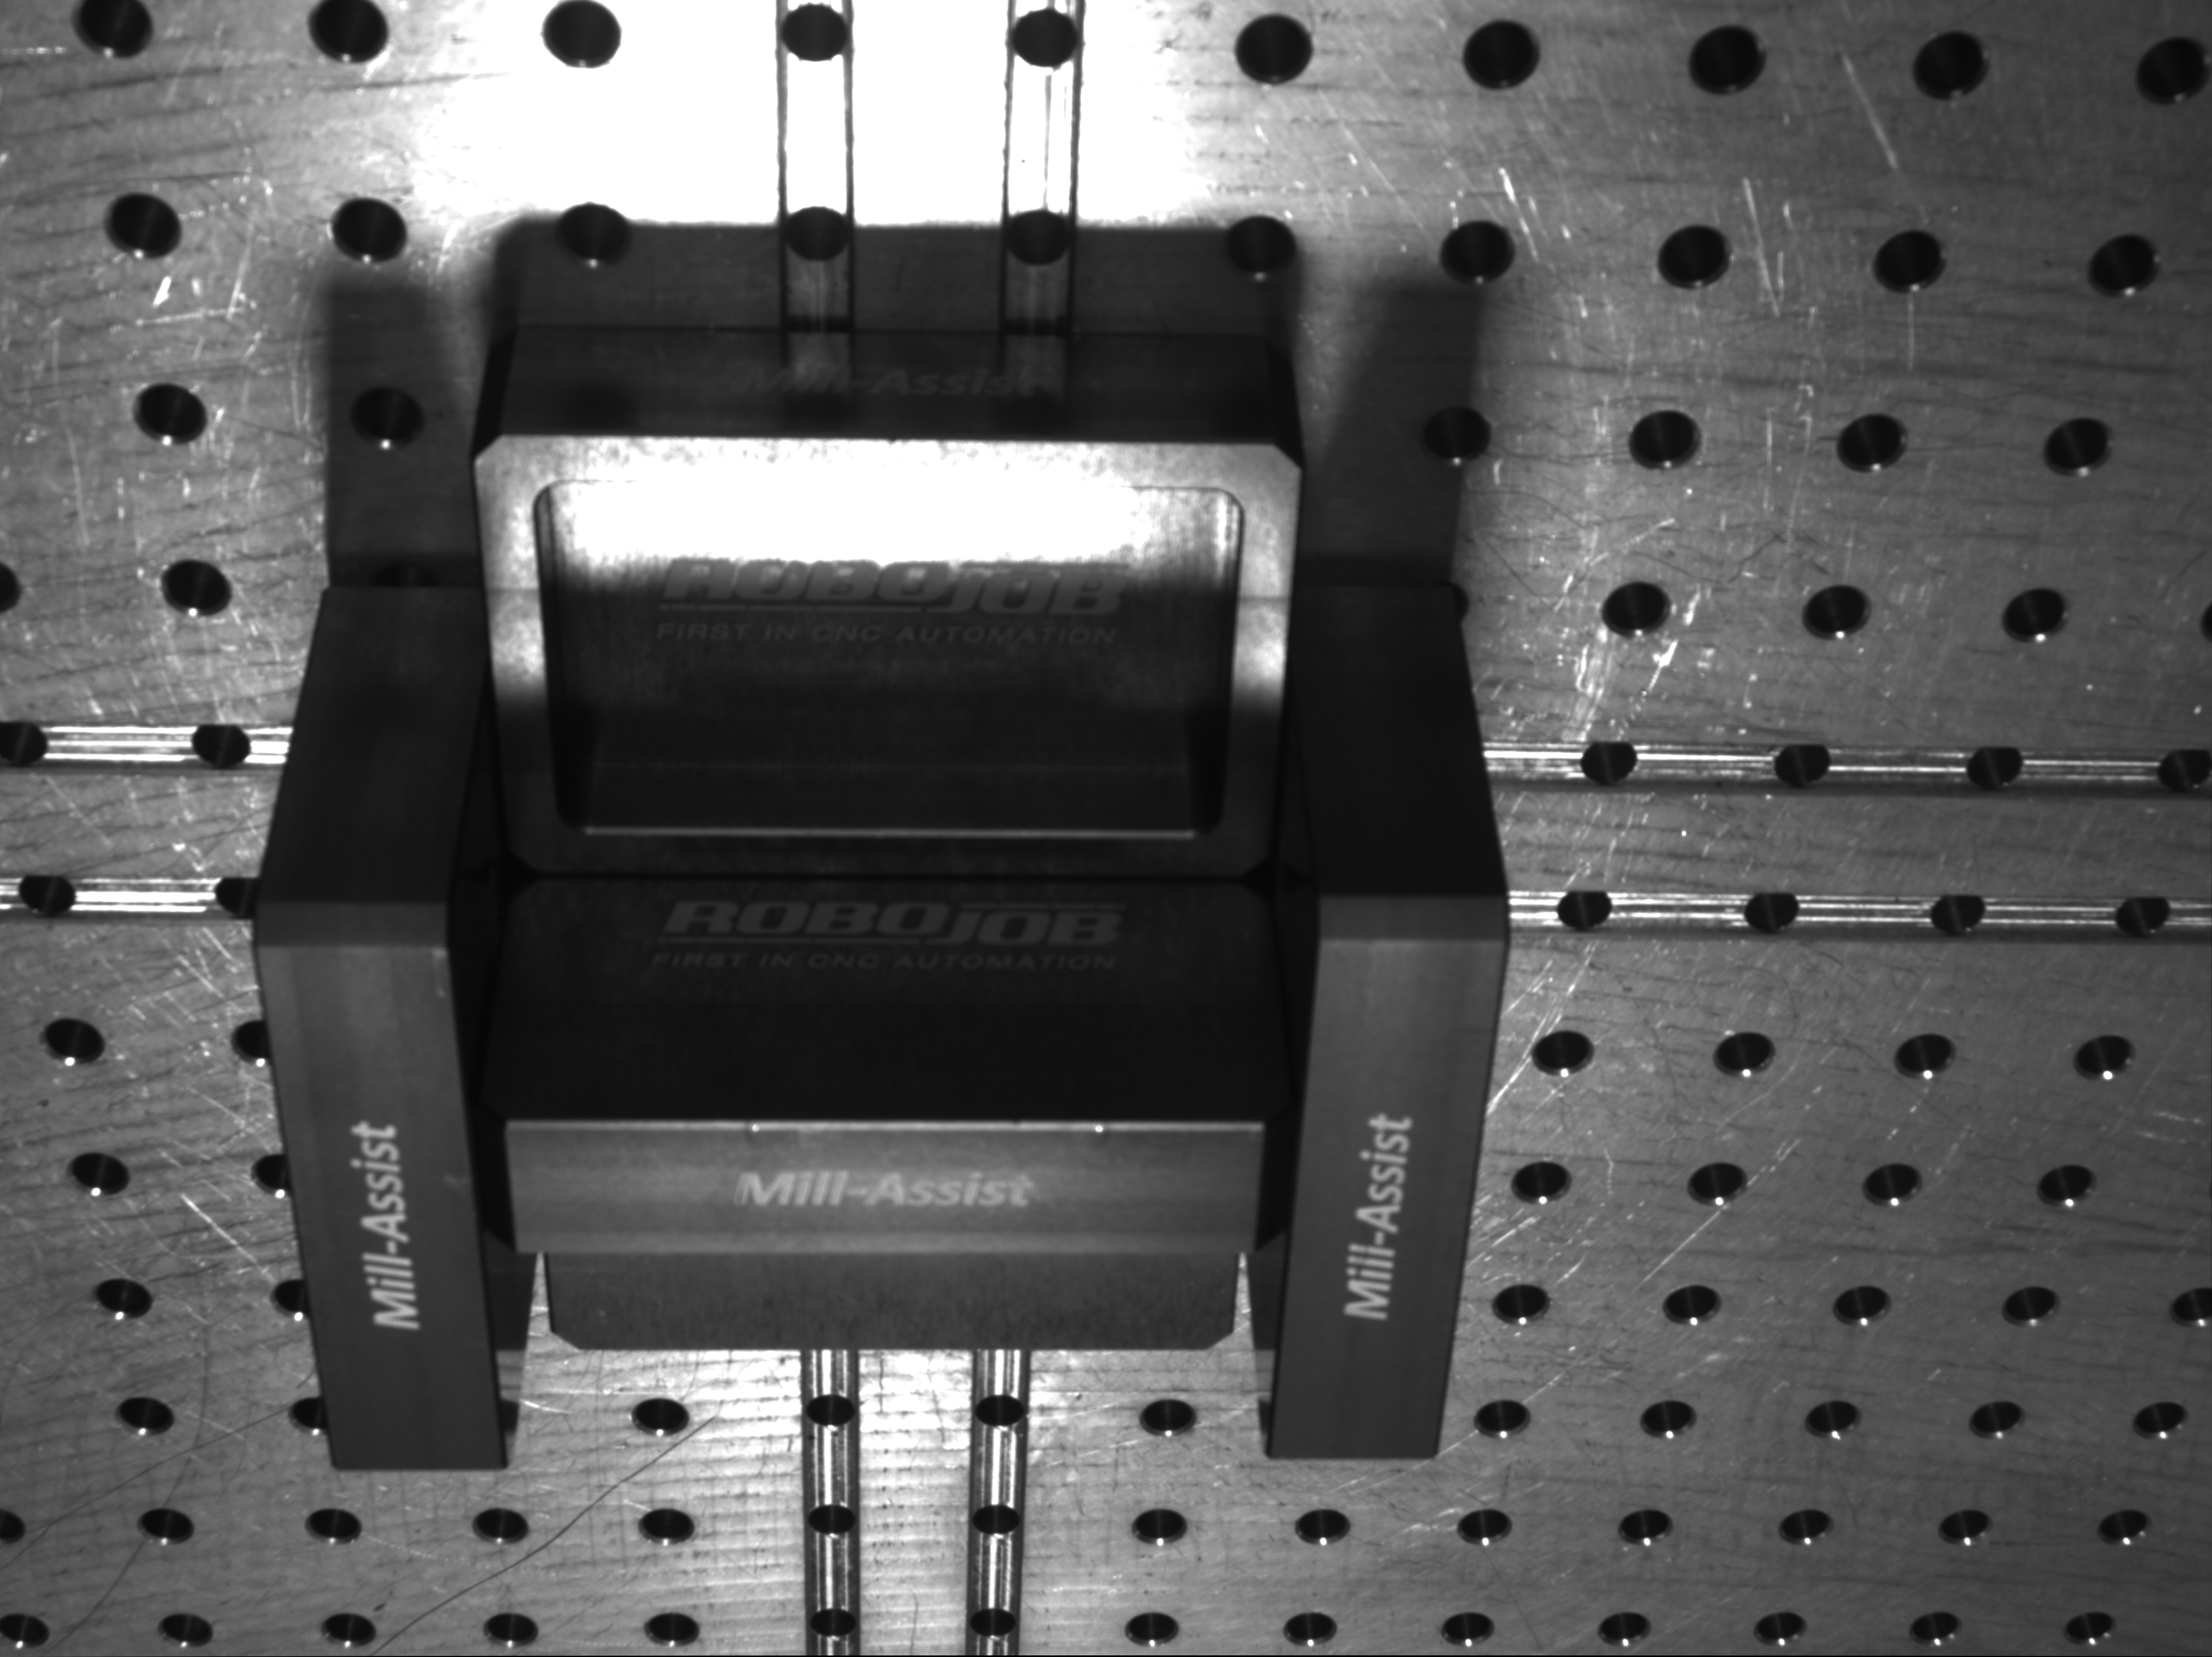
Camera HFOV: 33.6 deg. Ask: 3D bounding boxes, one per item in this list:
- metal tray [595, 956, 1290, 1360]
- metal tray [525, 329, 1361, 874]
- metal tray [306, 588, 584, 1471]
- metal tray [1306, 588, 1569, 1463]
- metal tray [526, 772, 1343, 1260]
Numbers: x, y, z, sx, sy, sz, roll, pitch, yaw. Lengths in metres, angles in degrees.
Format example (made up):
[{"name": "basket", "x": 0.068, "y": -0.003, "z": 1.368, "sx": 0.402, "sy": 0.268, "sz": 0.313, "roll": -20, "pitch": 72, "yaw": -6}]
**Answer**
[{"name": "metal tray", "x": -0.030, "y": 0.058, "z": 0.684, "sx": 0.130, "sy": 0.030, "sz": 0.090, "roll": 0, "pitch": 130, "yaw": -2}, {"name": "metal tray", "x": -0.026, "y": -0.036, "z": 0.607, "sx": 0.130, "sy": 0.030, "sz": 0.090, "roll": 0, "pitch": 130, "yaw": -2}, {"name": "metal tray", "x": -0.108, "y": 0.035, "z": 0.624, "sx": 0.030, "sy": 0.090, "sz": 0.130, "roll": 1, "pitch": 130, "yaw": -2}, {"name": "metal tray", "x": 0.053, "y": 0.035, "z": 0.629, "sx": 0.030, "sy": 0.090, "sz": 0.130, "roll": 1, "pitch": 130, "yaw": -2}, {"name": "metal tray", "x": -0.028, "y": 0.030, "z": 0.621, "sx": 0.130, "sy": 0.090, "sz": 0.030, "roll": 1, "pitch": 130, "yaw": -2}]
